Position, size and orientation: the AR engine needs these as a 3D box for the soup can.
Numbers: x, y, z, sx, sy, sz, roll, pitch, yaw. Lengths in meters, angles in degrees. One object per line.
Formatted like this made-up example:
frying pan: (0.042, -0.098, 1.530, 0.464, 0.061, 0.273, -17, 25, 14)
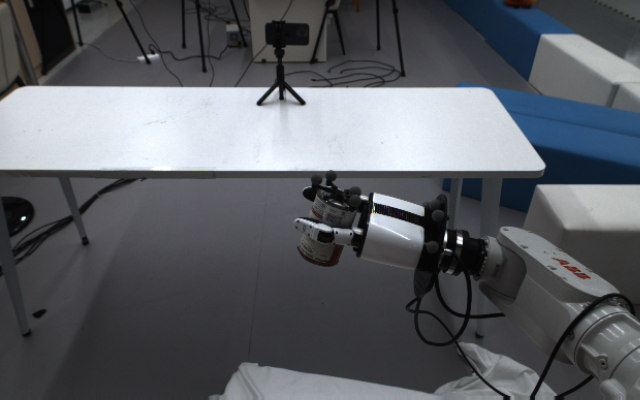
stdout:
soup can: (0.014, 0.041, 0.731, 0.067, 0.101, 0.067, 17, 21, -7)
